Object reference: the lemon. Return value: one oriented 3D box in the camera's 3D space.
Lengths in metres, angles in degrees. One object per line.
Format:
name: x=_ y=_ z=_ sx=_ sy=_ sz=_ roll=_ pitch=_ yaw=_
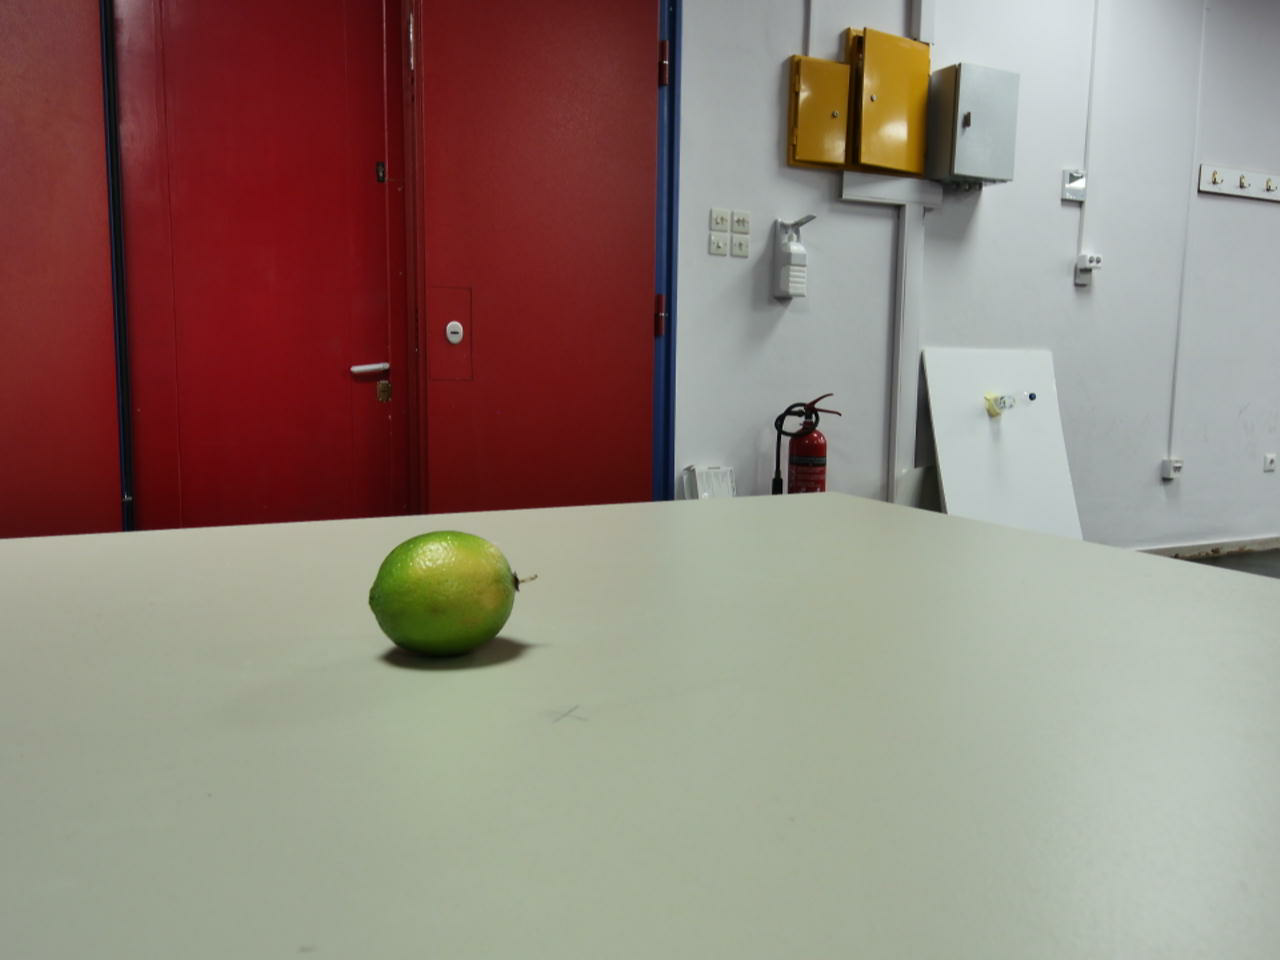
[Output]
lemon: x=-0.081 y=0.047 z=0.414 sx=0.055 sy=0.050 sz=0.054 roll=1 pitch=5 yaw=24
